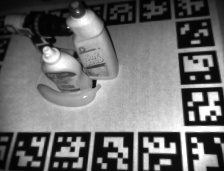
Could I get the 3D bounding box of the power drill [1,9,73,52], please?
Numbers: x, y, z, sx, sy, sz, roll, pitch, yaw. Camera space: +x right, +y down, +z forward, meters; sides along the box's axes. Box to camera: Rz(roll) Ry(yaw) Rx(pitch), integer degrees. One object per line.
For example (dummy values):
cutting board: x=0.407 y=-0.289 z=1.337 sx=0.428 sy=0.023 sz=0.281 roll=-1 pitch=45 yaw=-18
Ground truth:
power drill: x=-0.173 y=-0.130 z=0.571 sx=0.183 sy=0.188 sz=0.057 roll=11 pitch=69 yaw=16

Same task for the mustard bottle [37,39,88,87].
mustard bottle: x=-0.135 y=-0.057 z=0.554 sx=0.095 sy=0.193 sz=0.058 roll=-1 pitch=67 yaw=12

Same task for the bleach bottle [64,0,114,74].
bleach bottle: x=-0.067 y=-0.122 z=0.540 sx=0.102 sy=0.253 sz=0.068 roll=1 pitch=62 yaw=14

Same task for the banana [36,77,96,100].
banana: x=-0.138 y=0.003 z=0.625 sx=0.196 sy=0.039 sz=0.074 roll=3 pitch=69 yaw=16
